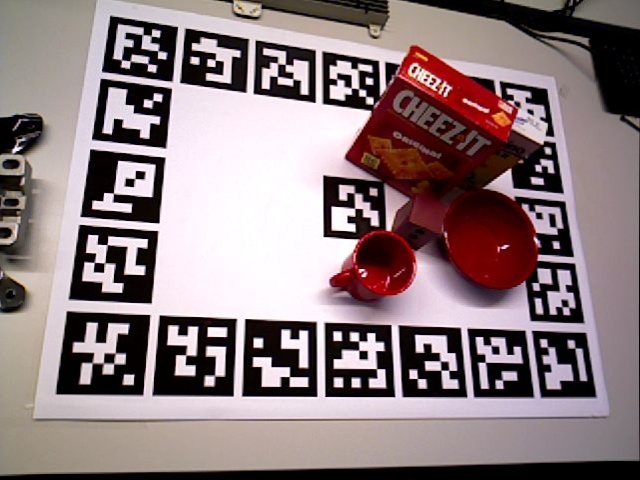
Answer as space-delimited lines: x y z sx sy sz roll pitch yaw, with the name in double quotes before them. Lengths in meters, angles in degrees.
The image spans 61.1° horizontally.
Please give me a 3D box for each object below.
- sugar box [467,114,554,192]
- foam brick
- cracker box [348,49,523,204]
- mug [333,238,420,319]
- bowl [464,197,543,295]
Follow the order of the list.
"sugar box" 0.255 -0.137 0.803 0.092 0.180 0.044 25 66 -5
"foam brick" 0.150 -0.019 0.796 0.052 0.079 0.050 19 66 -7
"cracker box" 0.153 -0.140 0.758 0.164 0.218 0.071 33 63 -3
"mug" 0.074 0.058 0.739 0.116 0.083 0.092 -4 64 -14
"bowl" 0.269 0.020 0.810 0.160 0.056 0.160 4 72 -13
